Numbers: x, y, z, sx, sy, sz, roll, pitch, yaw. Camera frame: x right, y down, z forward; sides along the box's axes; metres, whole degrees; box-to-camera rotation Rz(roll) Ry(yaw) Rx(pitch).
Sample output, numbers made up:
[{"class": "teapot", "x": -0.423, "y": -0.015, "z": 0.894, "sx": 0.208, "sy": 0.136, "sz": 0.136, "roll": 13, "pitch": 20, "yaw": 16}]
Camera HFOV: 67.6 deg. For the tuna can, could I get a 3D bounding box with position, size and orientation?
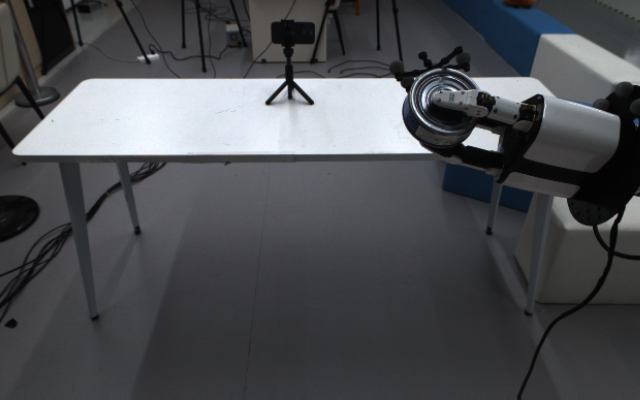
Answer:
[{"class": "tuna can", "x": 0.140, "y": -0.108, "z": 0.546, "sx": 0.085, "sy": 0.034, "sz": 0.085, "roll": 0, "pitch": 72, "yaw": -1}]
